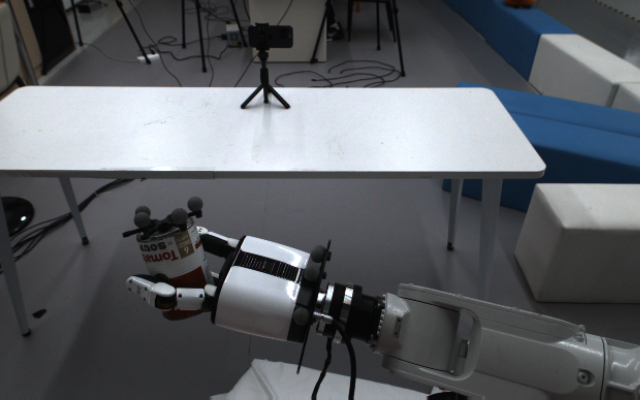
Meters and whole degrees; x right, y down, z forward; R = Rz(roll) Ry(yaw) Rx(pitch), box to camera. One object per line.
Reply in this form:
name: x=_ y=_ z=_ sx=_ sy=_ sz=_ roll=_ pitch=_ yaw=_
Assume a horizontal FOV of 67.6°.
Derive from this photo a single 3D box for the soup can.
soup can: x=-0.162 y=0.079 z=0.563 sx=0.067 sy=0.101 sz=0.067 roll=-12 pitch=17 yaw=4
